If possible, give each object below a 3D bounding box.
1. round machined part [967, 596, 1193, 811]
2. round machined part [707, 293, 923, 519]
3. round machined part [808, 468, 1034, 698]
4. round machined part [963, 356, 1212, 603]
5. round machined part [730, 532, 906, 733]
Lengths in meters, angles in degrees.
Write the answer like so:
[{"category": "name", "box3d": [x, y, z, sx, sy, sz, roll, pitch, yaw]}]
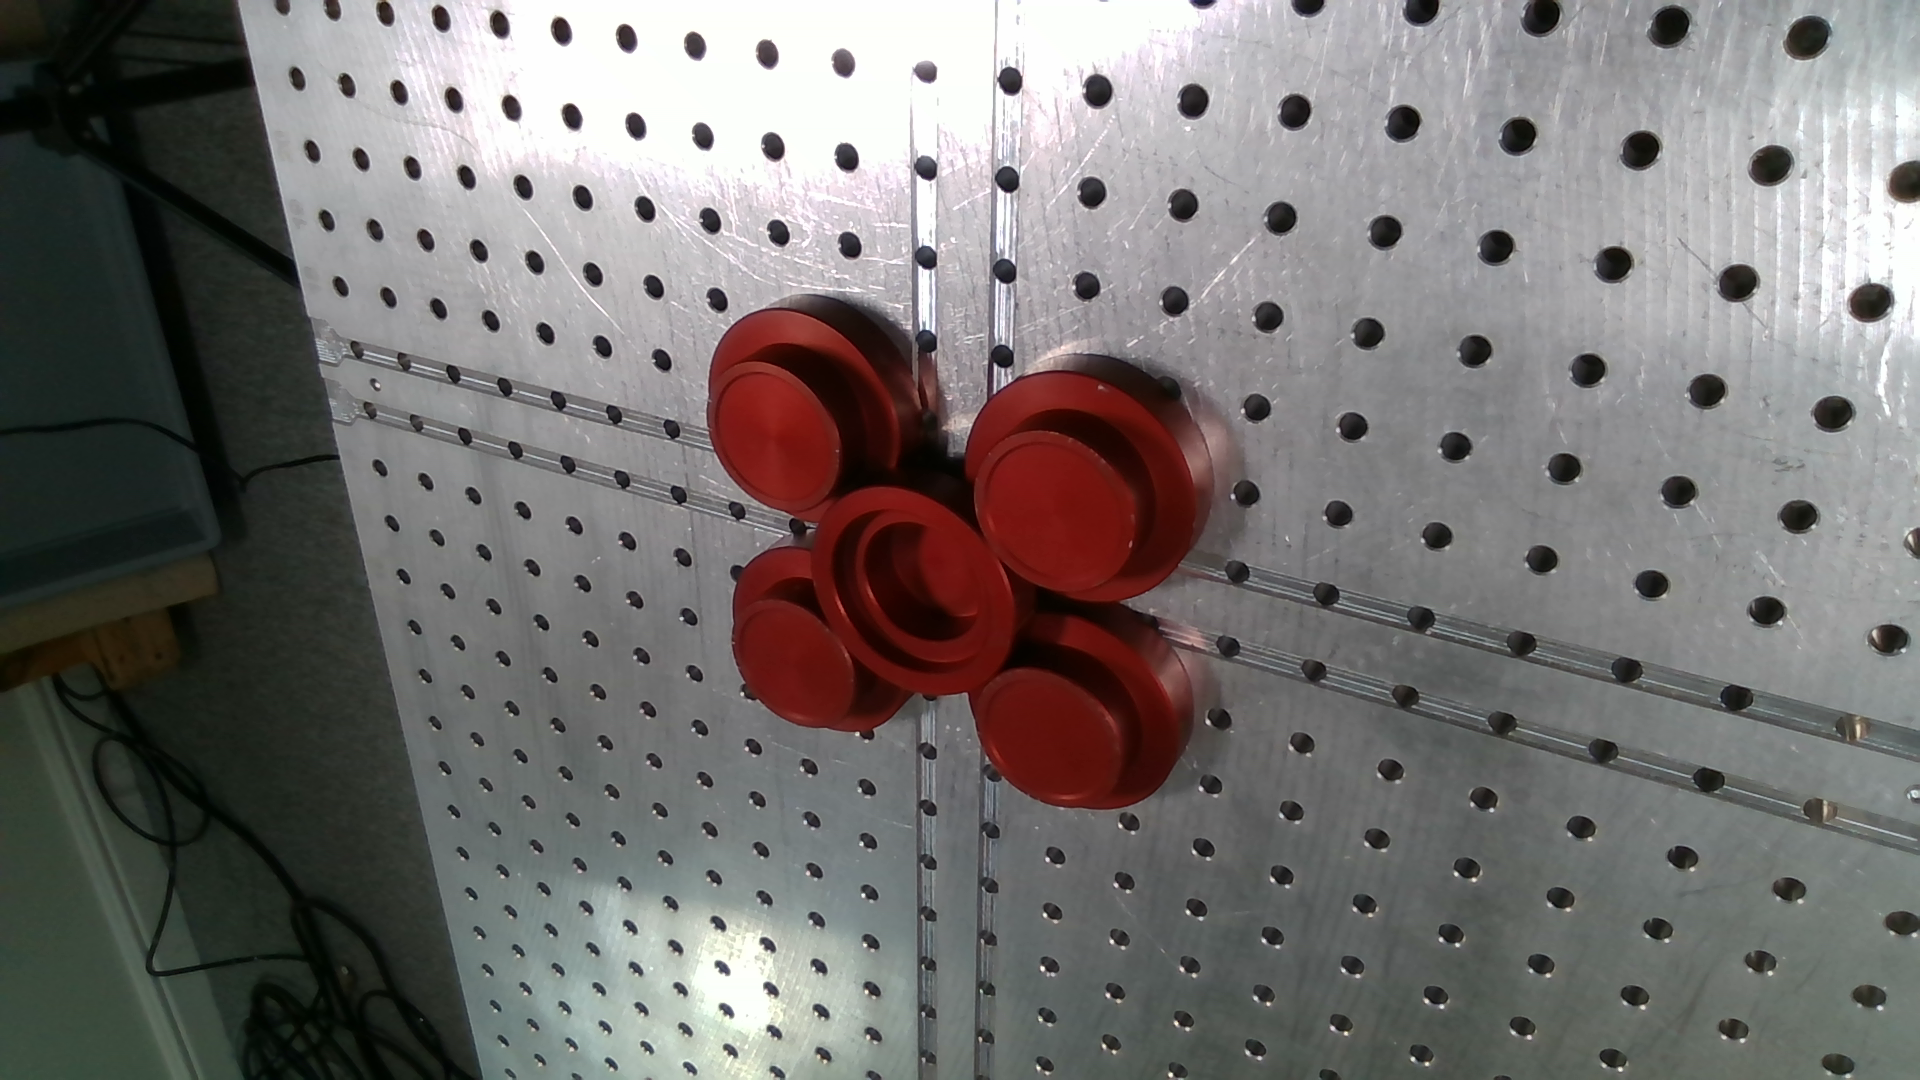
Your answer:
[{"category": "round machined part", "box3d": [0.045, 0.074, 0.584, 0.098, 0.042, 0.098, 14, 122, 25]}, {"category": "round machined part", "box3d": [-0.068, -0.052, 0.586, 0.098, 0.042, 0.098, 14, 122, 25]}, {"category": "round machined part", "box3d": [-0.012, 0.015, 0.585, 0.098, 0.042, 0.098, 14, 122, 25]}, {"category": "round machined part", "box3d": [0.044, -0.019, 0.534, 0.098, 0.042, 0.098, 14, 122, 25]}, {"category": "round machined part", "box3d": [-0.067, 0.048, 0.638, 0.098, 0.042, 0.098, 14, 122, 25]}]
